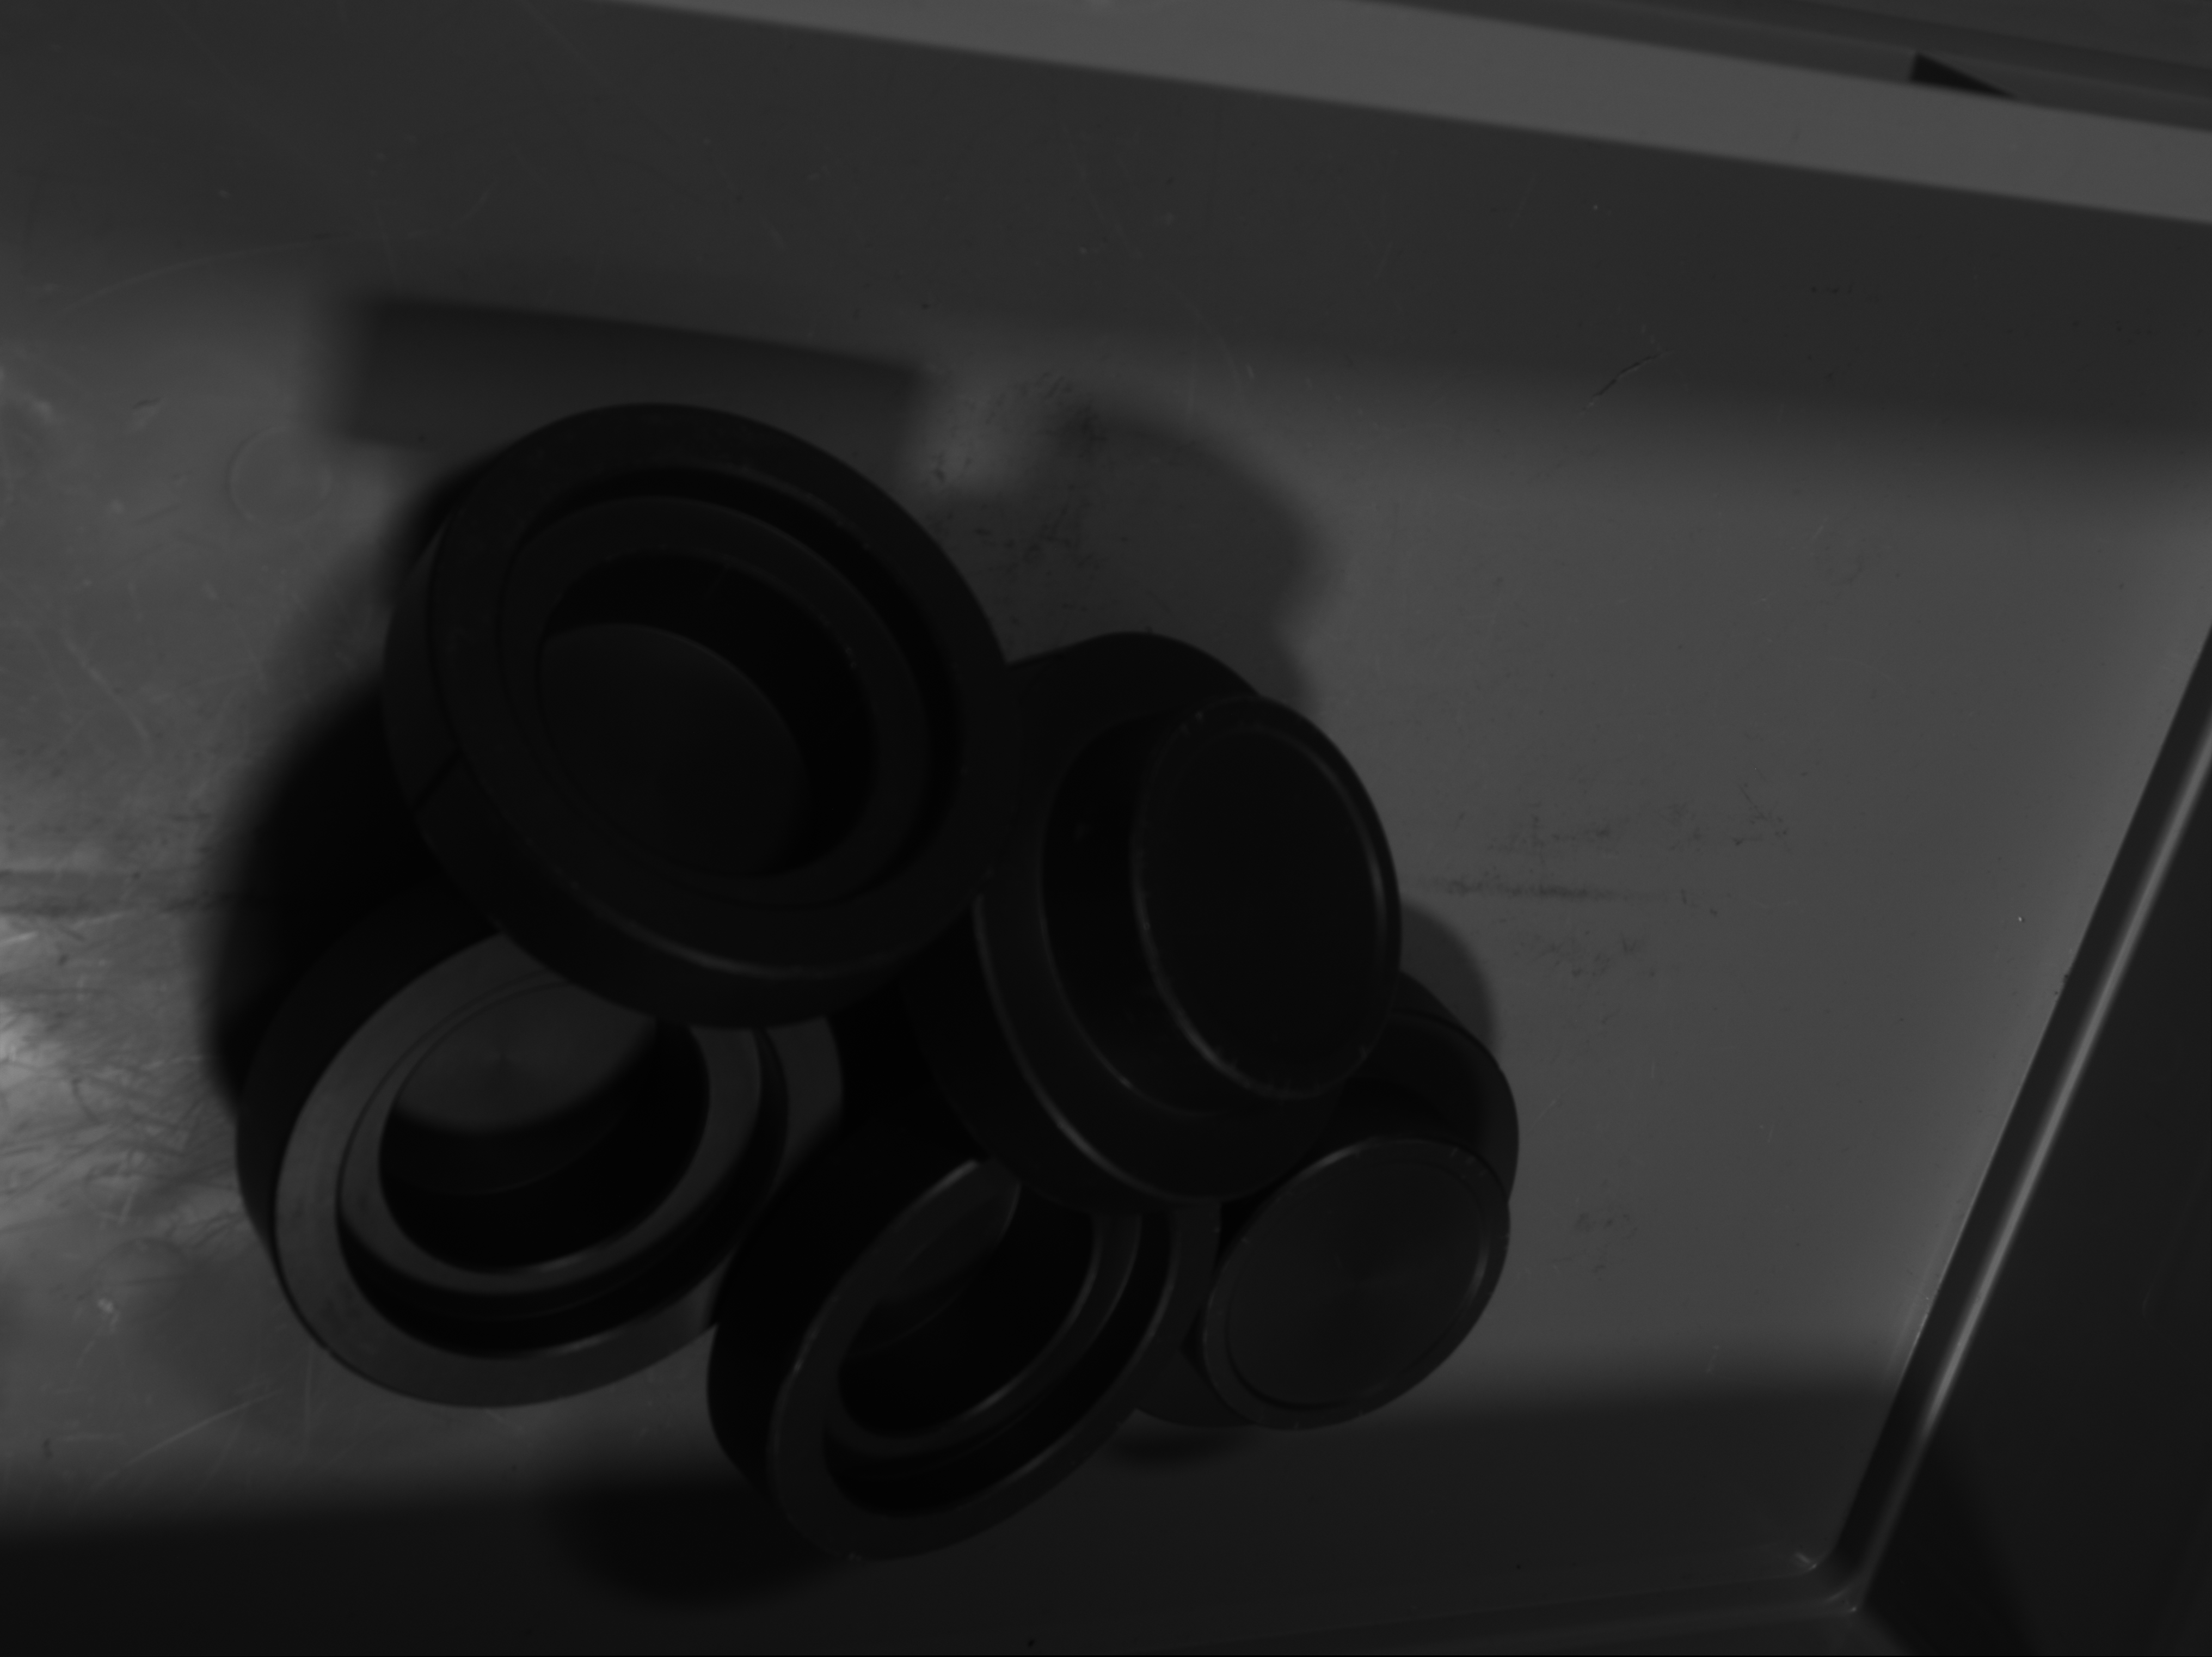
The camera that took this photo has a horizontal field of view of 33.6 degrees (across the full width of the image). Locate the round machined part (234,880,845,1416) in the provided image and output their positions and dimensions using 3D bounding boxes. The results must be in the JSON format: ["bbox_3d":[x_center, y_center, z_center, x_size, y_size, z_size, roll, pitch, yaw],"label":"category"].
[{"bbox_3d":[-0.096,0.046,0.609,0.098,0.042,0.098,-15,125,-22],"label":"round machined part"}]

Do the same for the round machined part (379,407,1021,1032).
[{"bbox_3d":[-0.066,-0.013,0.568,0.098,0.098,0.042,3,152,-32],"label":"round machined part"}]

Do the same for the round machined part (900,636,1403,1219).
[{"bbox_3d":[0.013,0.015,0.619,0.098,0.042,0.098,16,68,-44],"label":"round machined part"}]

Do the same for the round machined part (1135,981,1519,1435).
[{"bbox_3d":[0.038,0.078,0.708,0.098,0.042,0.098,-15,125,-22],"label":"round machined part"}]

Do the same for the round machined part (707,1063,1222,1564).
[{"bbox_3d":[-0.030,0.080,0.655,0.098,0.042,0.098,-27,139,-26],"label":"round machined part"}]
